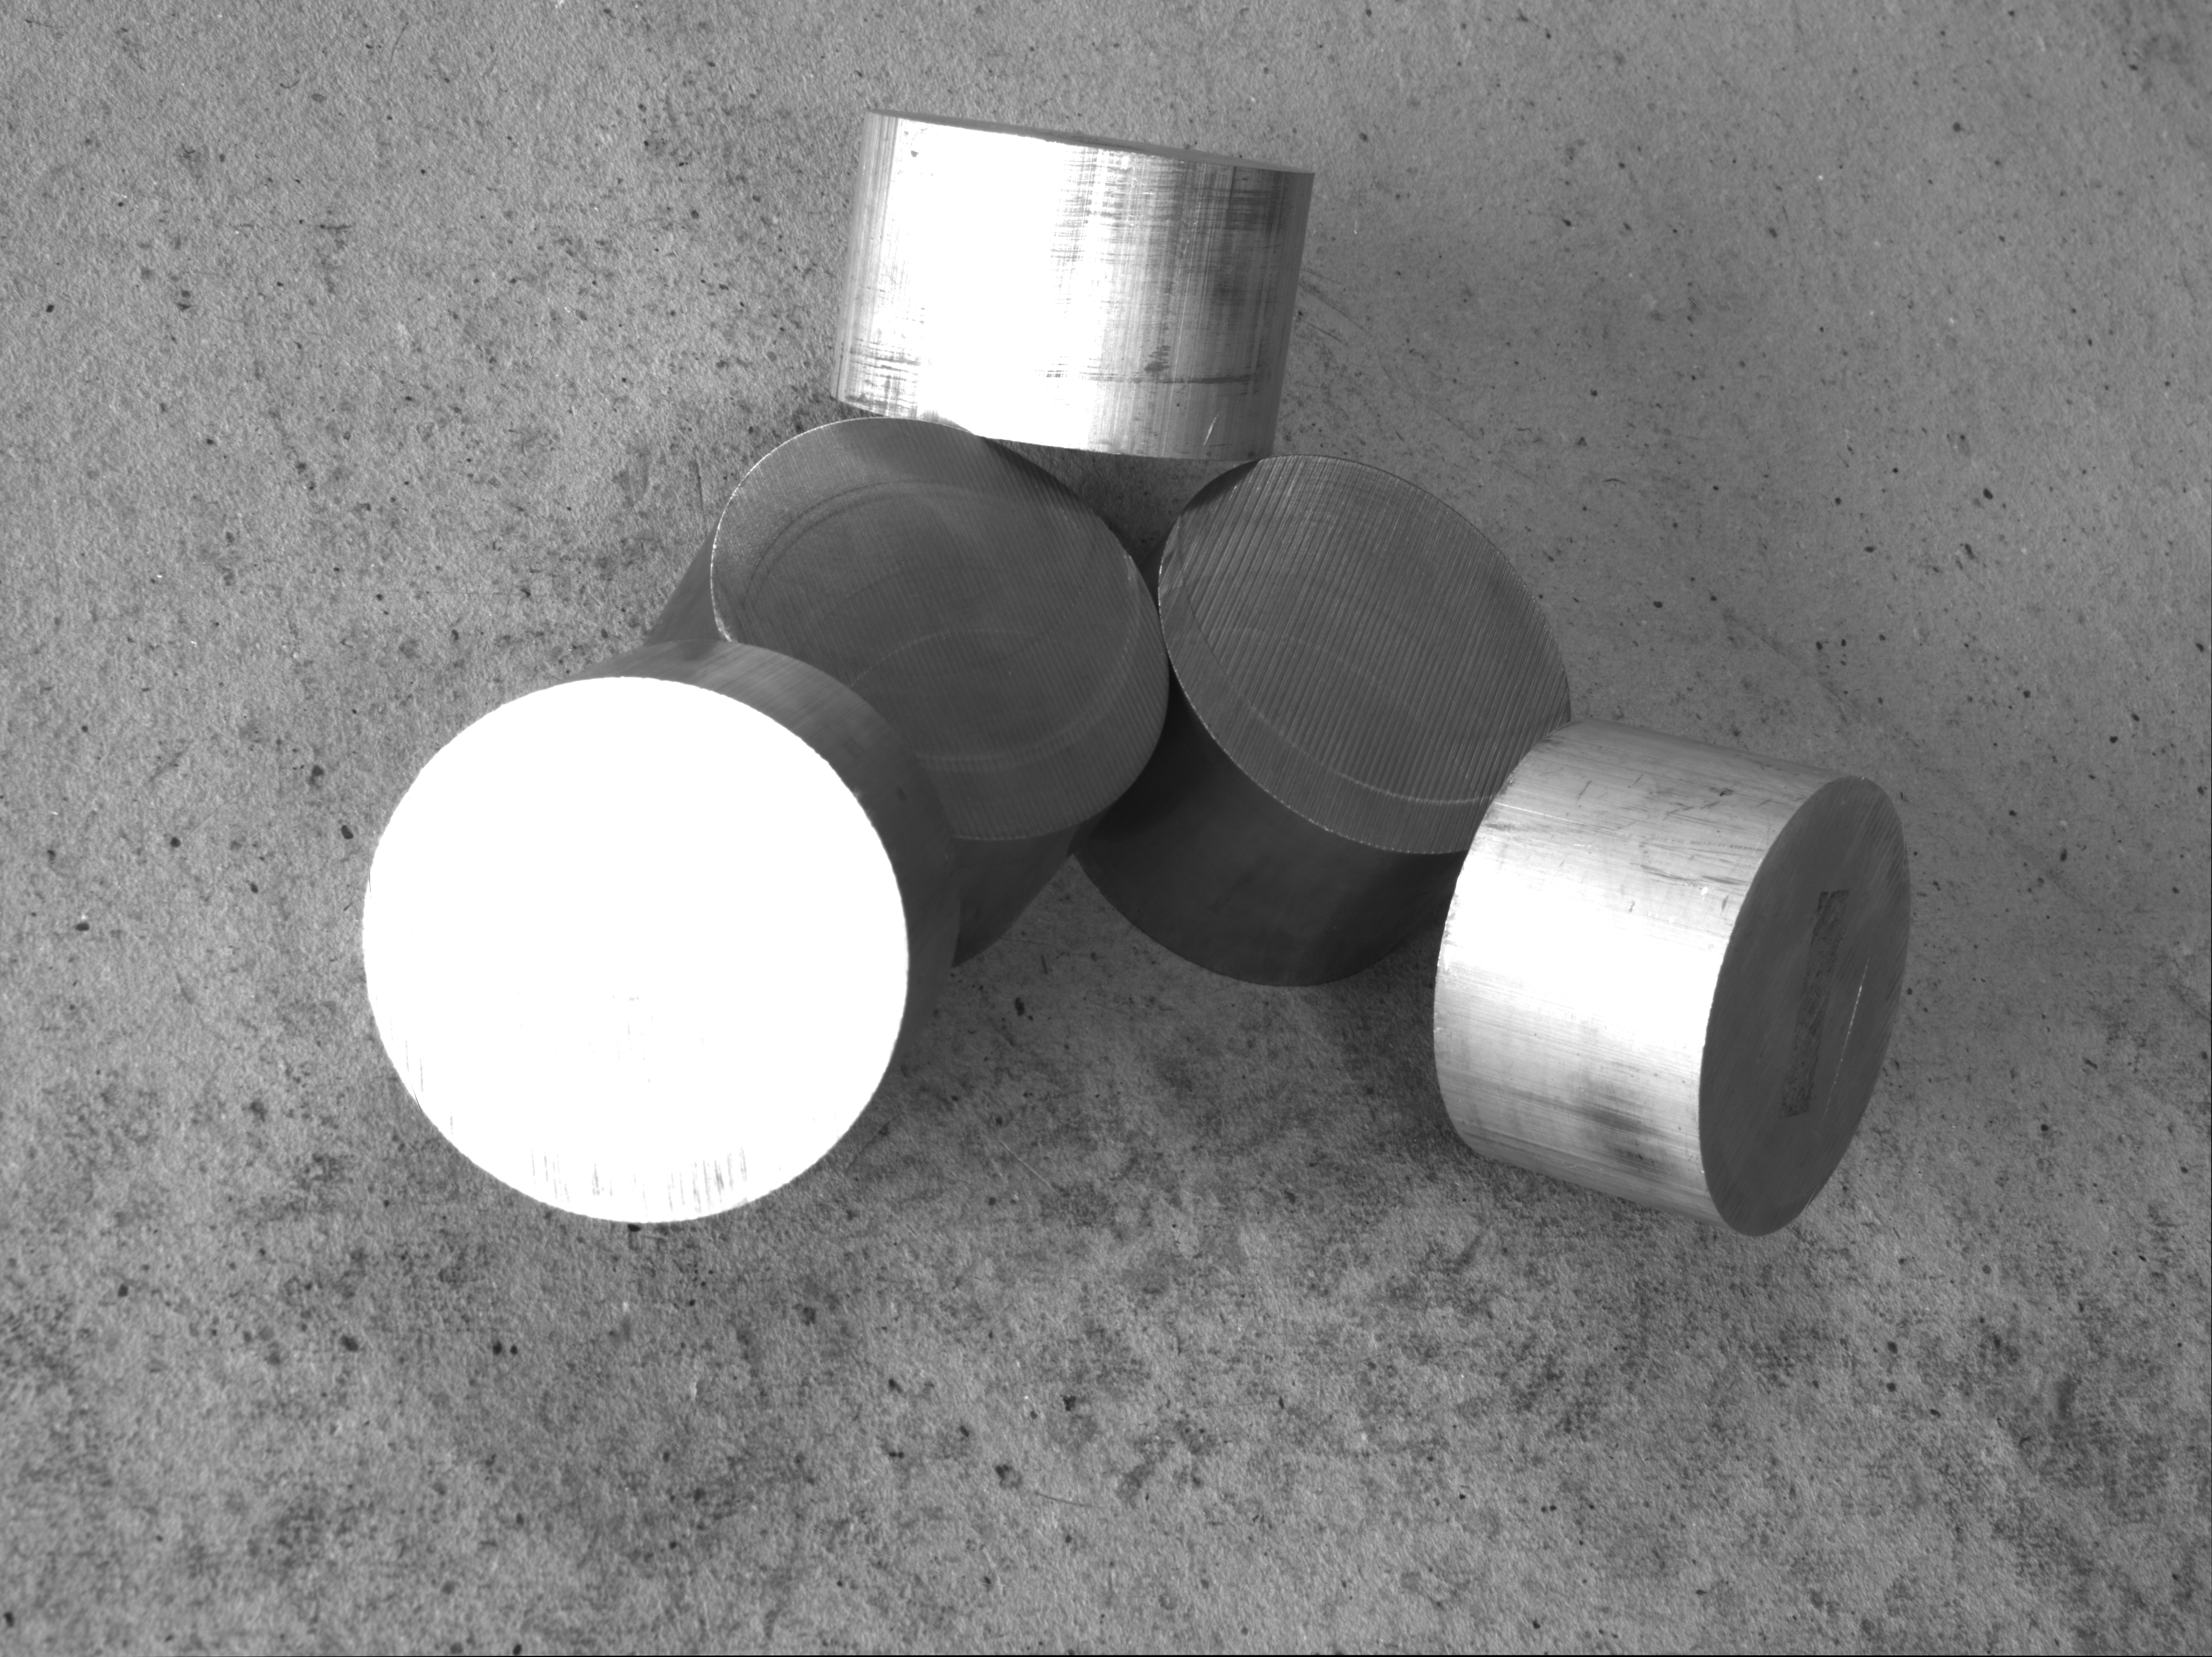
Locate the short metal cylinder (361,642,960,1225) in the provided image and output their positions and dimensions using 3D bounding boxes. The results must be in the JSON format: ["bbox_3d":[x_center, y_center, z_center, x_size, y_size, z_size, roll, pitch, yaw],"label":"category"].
[{"bbox_3d":[-0.065,0.014,0.552,0.080,0.080,0.050,40,11,-1],"label":"short metal cylinder"}]

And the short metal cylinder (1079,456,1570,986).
[{"bbox_3d":[0.035,-0.019,0.653,0.080,0.050,0.080,14,56,-20],"label":"short metal cylinder"}]

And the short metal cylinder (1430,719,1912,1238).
[{"bbox_3d":[0.098,0.025,0.633,0.050,0.080,0.080,15,41,34],"label":"short metal cylinder"}]

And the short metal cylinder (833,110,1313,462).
[{"bbox_3d":[-0.006,-0.097,0.652,0.080,0.080,0.050,2,103,-27],"label":"short metal cylinder"}]

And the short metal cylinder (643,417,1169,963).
[{"bbox_3d":[-0.036,-0.022,0.616,0.080,0.050,0.080,14,56,-20],"label":"short metal cylinder"}]
